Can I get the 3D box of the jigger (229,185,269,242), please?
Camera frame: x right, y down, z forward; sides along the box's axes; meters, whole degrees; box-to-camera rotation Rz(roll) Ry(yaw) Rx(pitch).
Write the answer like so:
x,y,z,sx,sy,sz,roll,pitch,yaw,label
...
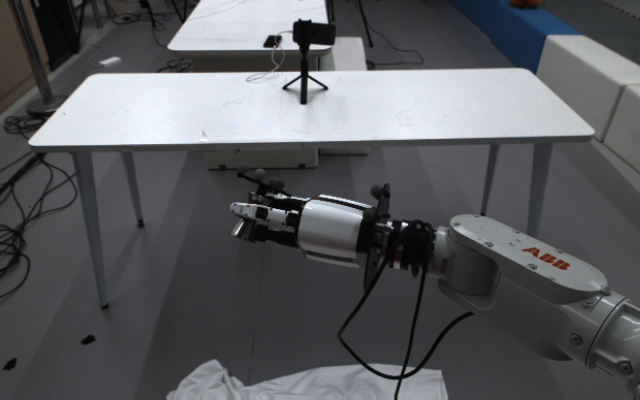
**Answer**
x,y,z,sx,sy,sz,roll,pitch,yaw,label
-0.103,0.023,0.712,0.043,0.071,0.043,24,-2,1,jigger
